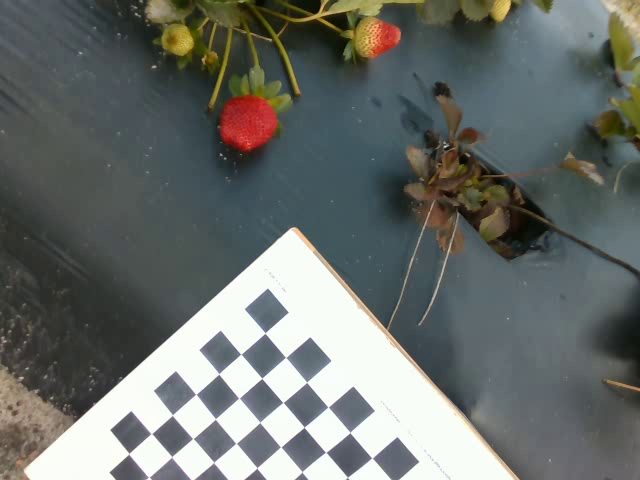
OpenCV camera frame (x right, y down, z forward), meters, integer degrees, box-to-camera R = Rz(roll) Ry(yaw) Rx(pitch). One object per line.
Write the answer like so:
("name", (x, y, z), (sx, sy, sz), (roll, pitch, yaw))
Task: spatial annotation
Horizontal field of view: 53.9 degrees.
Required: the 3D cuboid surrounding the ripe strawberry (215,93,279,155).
("ripe strawberry", (-0.053, -0.079, 0.437), (0.046, 0.042, 0.055), (0, 31, 11))
